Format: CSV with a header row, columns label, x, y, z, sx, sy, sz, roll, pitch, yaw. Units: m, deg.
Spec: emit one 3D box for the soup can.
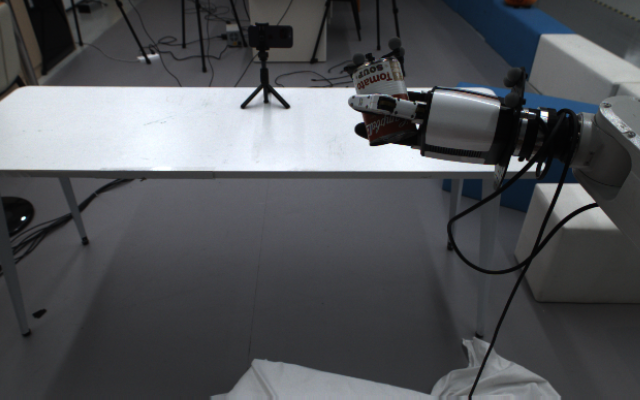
label,x,y,z,sx,sy,sz,roll,pitch,yaw
soup can,0.087,-0.132,0.658,0.067,0.101,0.067,-14,-2,-1
